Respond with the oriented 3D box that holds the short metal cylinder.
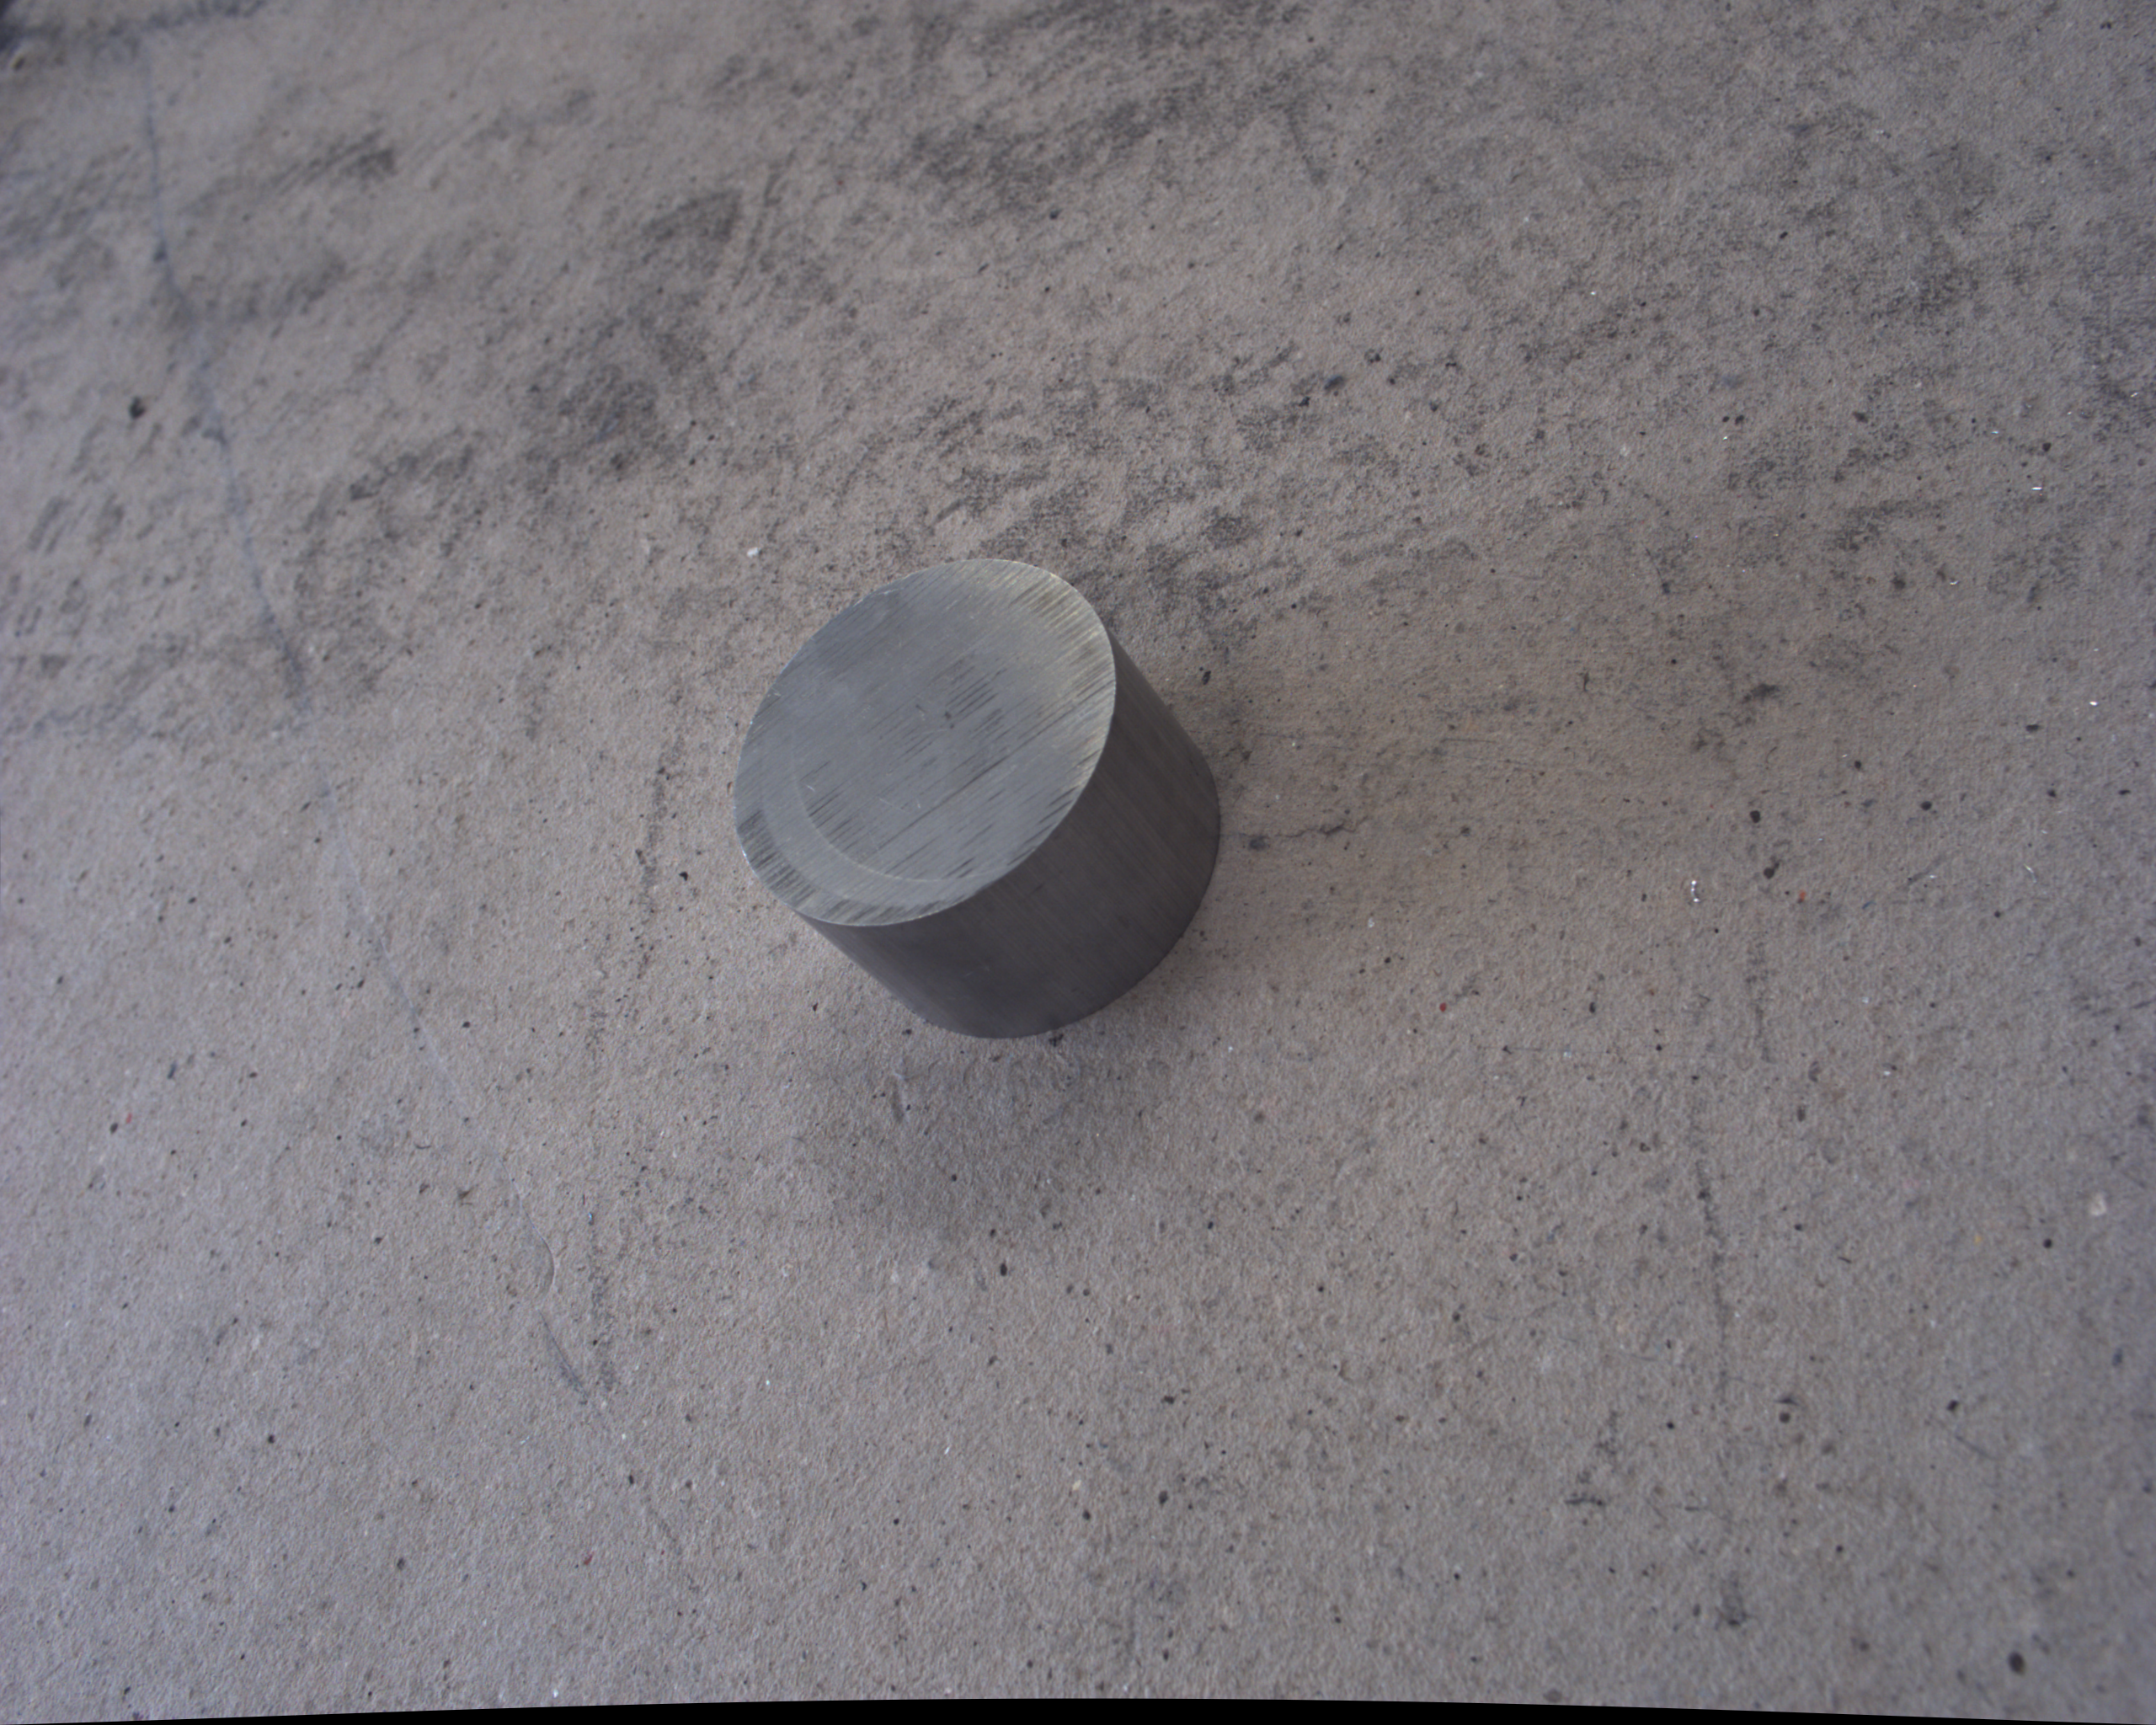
[{"bbox_3d":[-0.019,-0.012,0.408,0.080,0.050,0.080,-13,57,20],"label":"short metal cylinder"}]
